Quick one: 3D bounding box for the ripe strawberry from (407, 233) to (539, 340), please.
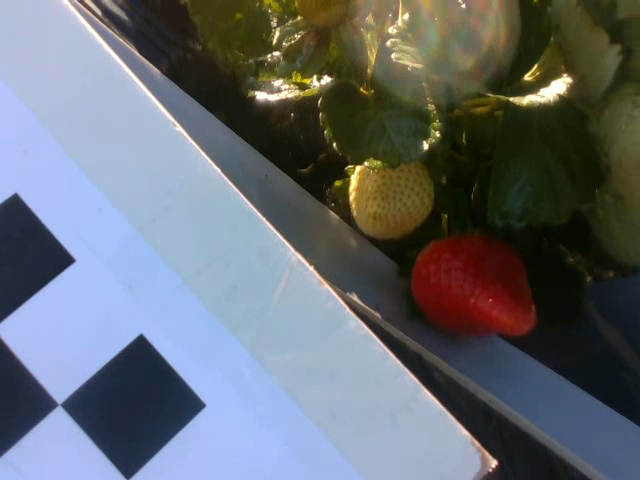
[{"bbox_3d":[0.055,0.018,0.214,0.045,0.049,0.064,-18,18,-6],"label":"ripe strawberry"}]
